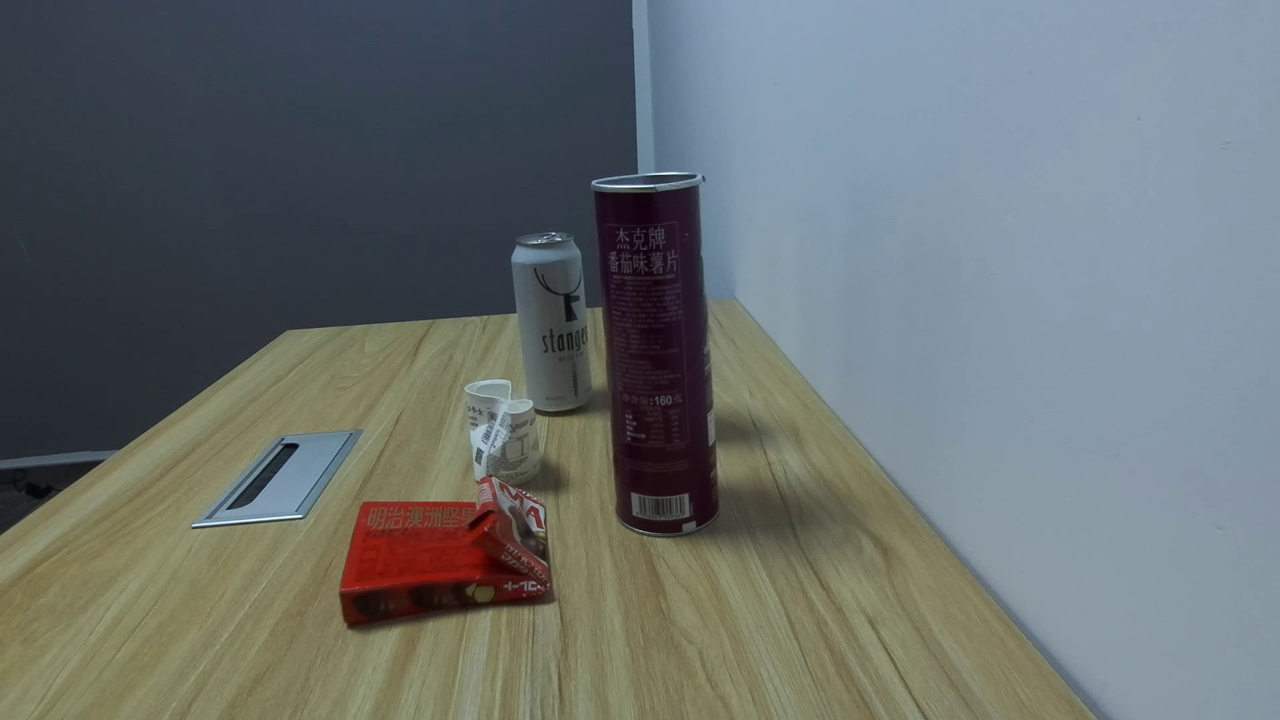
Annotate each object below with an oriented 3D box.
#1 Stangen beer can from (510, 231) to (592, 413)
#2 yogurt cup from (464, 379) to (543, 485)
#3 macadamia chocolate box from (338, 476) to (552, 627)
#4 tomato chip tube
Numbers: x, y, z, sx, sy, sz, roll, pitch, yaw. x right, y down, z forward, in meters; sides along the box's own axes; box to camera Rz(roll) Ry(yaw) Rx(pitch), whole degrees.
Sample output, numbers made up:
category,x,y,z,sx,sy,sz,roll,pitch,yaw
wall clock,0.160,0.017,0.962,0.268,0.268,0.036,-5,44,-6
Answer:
category,x,y,z,sx,sy,sz,roll,pitch,yaw
Stangen beer can,-0.086,-0.033,0.697,0.067,0.171,0.067,-4,13,1
yogurt cup,-0.111,0.059,0.572,0.075,0.071,0.054,5,22,23
macadamia chocolate box,-0.124,0.119,0.465,0.126,0.056,0.112,-8,4,-10
tomato chip tube,0.013,-0.002,0.476,0.080,0.234,0.076,-17,23,-34
